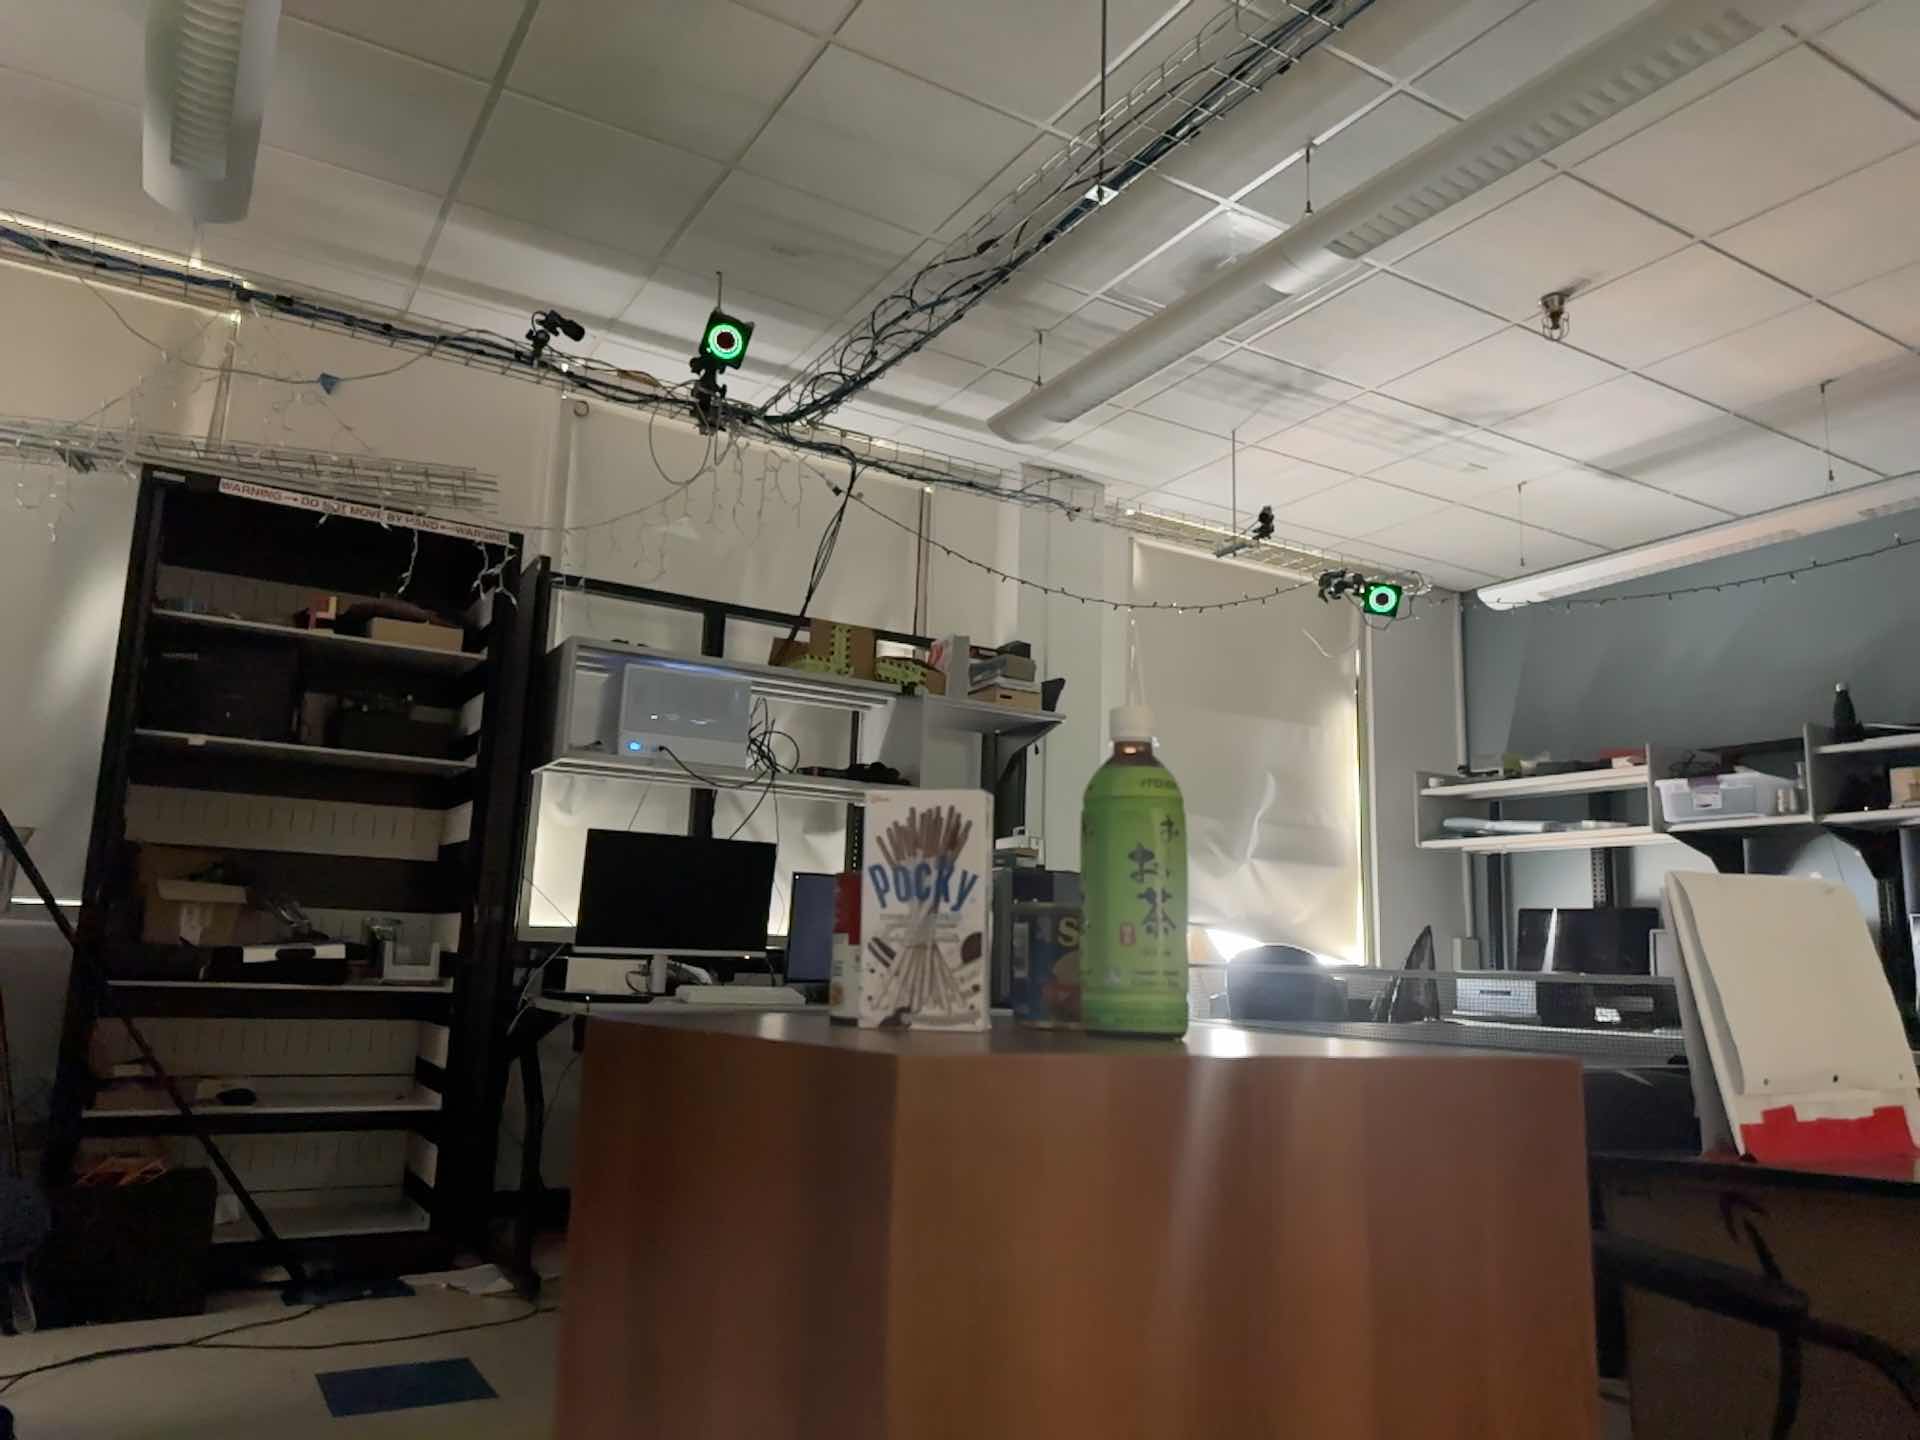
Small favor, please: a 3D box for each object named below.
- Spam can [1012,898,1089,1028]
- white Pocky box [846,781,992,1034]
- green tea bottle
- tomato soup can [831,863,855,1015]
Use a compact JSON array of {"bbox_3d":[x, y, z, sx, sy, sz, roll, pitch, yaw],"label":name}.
[{"bbox_3d":[0.087,0.169,0.932,0.100,0.083,0.056,5,-10,-15],"label":"Spam can"},{"bbox_3d":[-0.025,0.116,0.843,0.084,0.154,0.028,0,-9,12],"label":"white Pocky box"},{"bbox_3d":[0.109,0.088,0.850,0.073,0.212,0.073,-1,-8,0],"label":"green tea bottle"},{"bbox_3d":[-0.053,0.151,0.917,0.067,0.102,0.067,3,-11,1],"label":"tomato soup can"}]
